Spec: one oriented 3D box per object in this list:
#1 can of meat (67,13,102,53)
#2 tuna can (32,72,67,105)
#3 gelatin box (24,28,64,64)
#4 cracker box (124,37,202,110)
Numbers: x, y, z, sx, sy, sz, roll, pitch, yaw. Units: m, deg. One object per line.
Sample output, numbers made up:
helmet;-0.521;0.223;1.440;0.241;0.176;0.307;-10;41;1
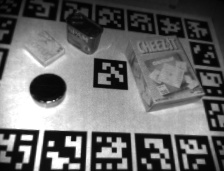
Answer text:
can of meat;-0.085;-0.159;0.663;0.101;0.084;0.058;30;59;5
tuna can;-0.163;0.009;0.572;0.086;0.034;0.085;5;65;-10
gelatin box;-0.199;-0.118;0.635;0.089;0.030;0.074;42;58;7
cracker box;0.153;-0.045;0.667;0.165;0.072;0.212;-10;64;-20
